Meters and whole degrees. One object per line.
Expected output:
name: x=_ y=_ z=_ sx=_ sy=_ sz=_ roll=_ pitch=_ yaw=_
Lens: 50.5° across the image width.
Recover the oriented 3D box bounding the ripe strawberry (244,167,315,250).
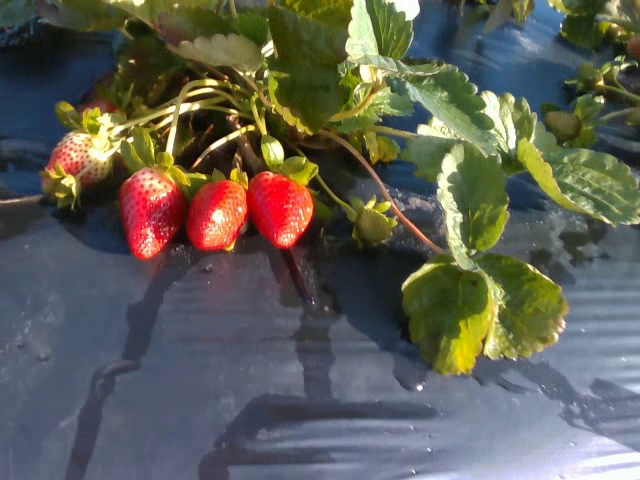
ripe strawberry: x=-0.018 y=-0.009 z=0.295 sx=0.035 sy=0.034 sz=0.041 roll=1 pitch=29 yaw=-7

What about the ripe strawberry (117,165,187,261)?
ripe strawberry: x=-0.076 y=-0.012 z=0.291 sx=0.031 sy=0.046 sz=0.023 roll=5 pitch=-25 yaw=-6

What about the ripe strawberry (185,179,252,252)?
ripe strawberry: x=-0.046 y=-0.012 z=0.288 sx=0.030 sy=0.037 sz=0.039 roll=15 pitch=15 yaw=-4
